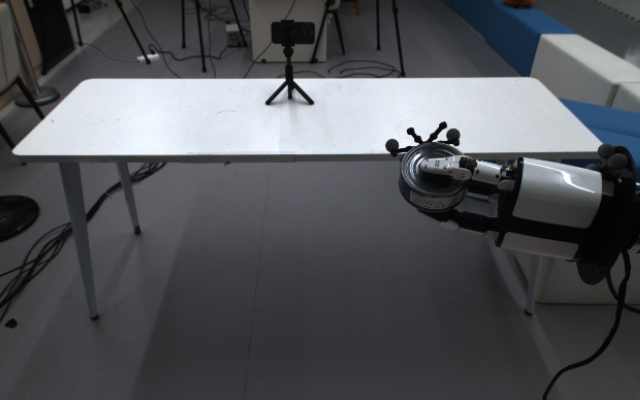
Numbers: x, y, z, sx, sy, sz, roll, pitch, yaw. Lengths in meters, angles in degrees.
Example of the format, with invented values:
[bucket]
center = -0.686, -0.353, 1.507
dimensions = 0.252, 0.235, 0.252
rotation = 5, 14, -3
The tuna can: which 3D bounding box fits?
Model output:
[tuna can]
center = 0.146, -0.023, 0.595
dimensions = 0.085, 0.034, 0.085
rotation = -3, 59, 5
